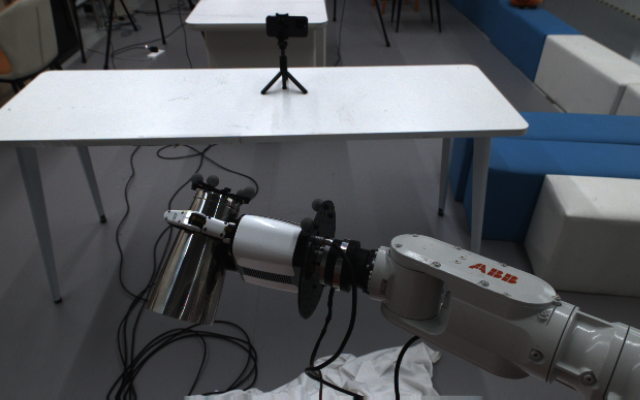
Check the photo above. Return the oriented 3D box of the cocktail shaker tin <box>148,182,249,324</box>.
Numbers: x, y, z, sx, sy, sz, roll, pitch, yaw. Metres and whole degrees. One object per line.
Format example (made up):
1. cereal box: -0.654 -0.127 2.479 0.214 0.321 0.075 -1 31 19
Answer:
1. cocktail shaker tin: -0.165 0.075 0.670 0.093 0.093 0.170 13 77 15
